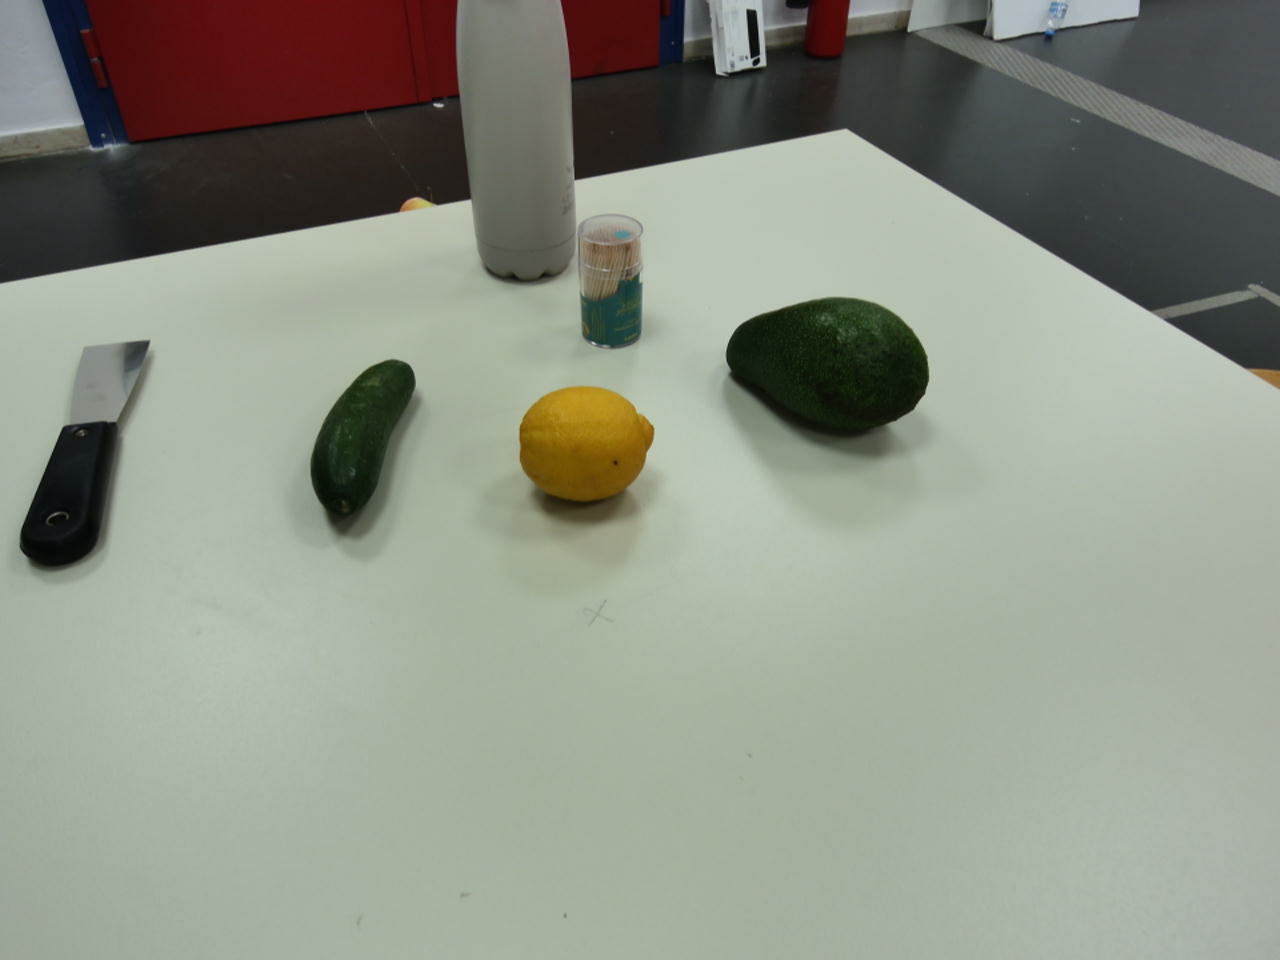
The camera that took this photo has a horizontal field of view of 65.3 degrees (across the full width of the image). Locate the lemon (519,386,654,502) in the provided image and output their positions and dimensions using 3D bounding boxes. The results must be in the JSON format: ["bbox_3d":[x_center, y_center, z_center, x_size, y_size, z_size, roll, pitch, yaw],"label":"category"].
[{"bbox_3d":[-0.029,-0.018,0.518,0.067,0.059,0.060,11,40,13],"label":"lemon"}]
